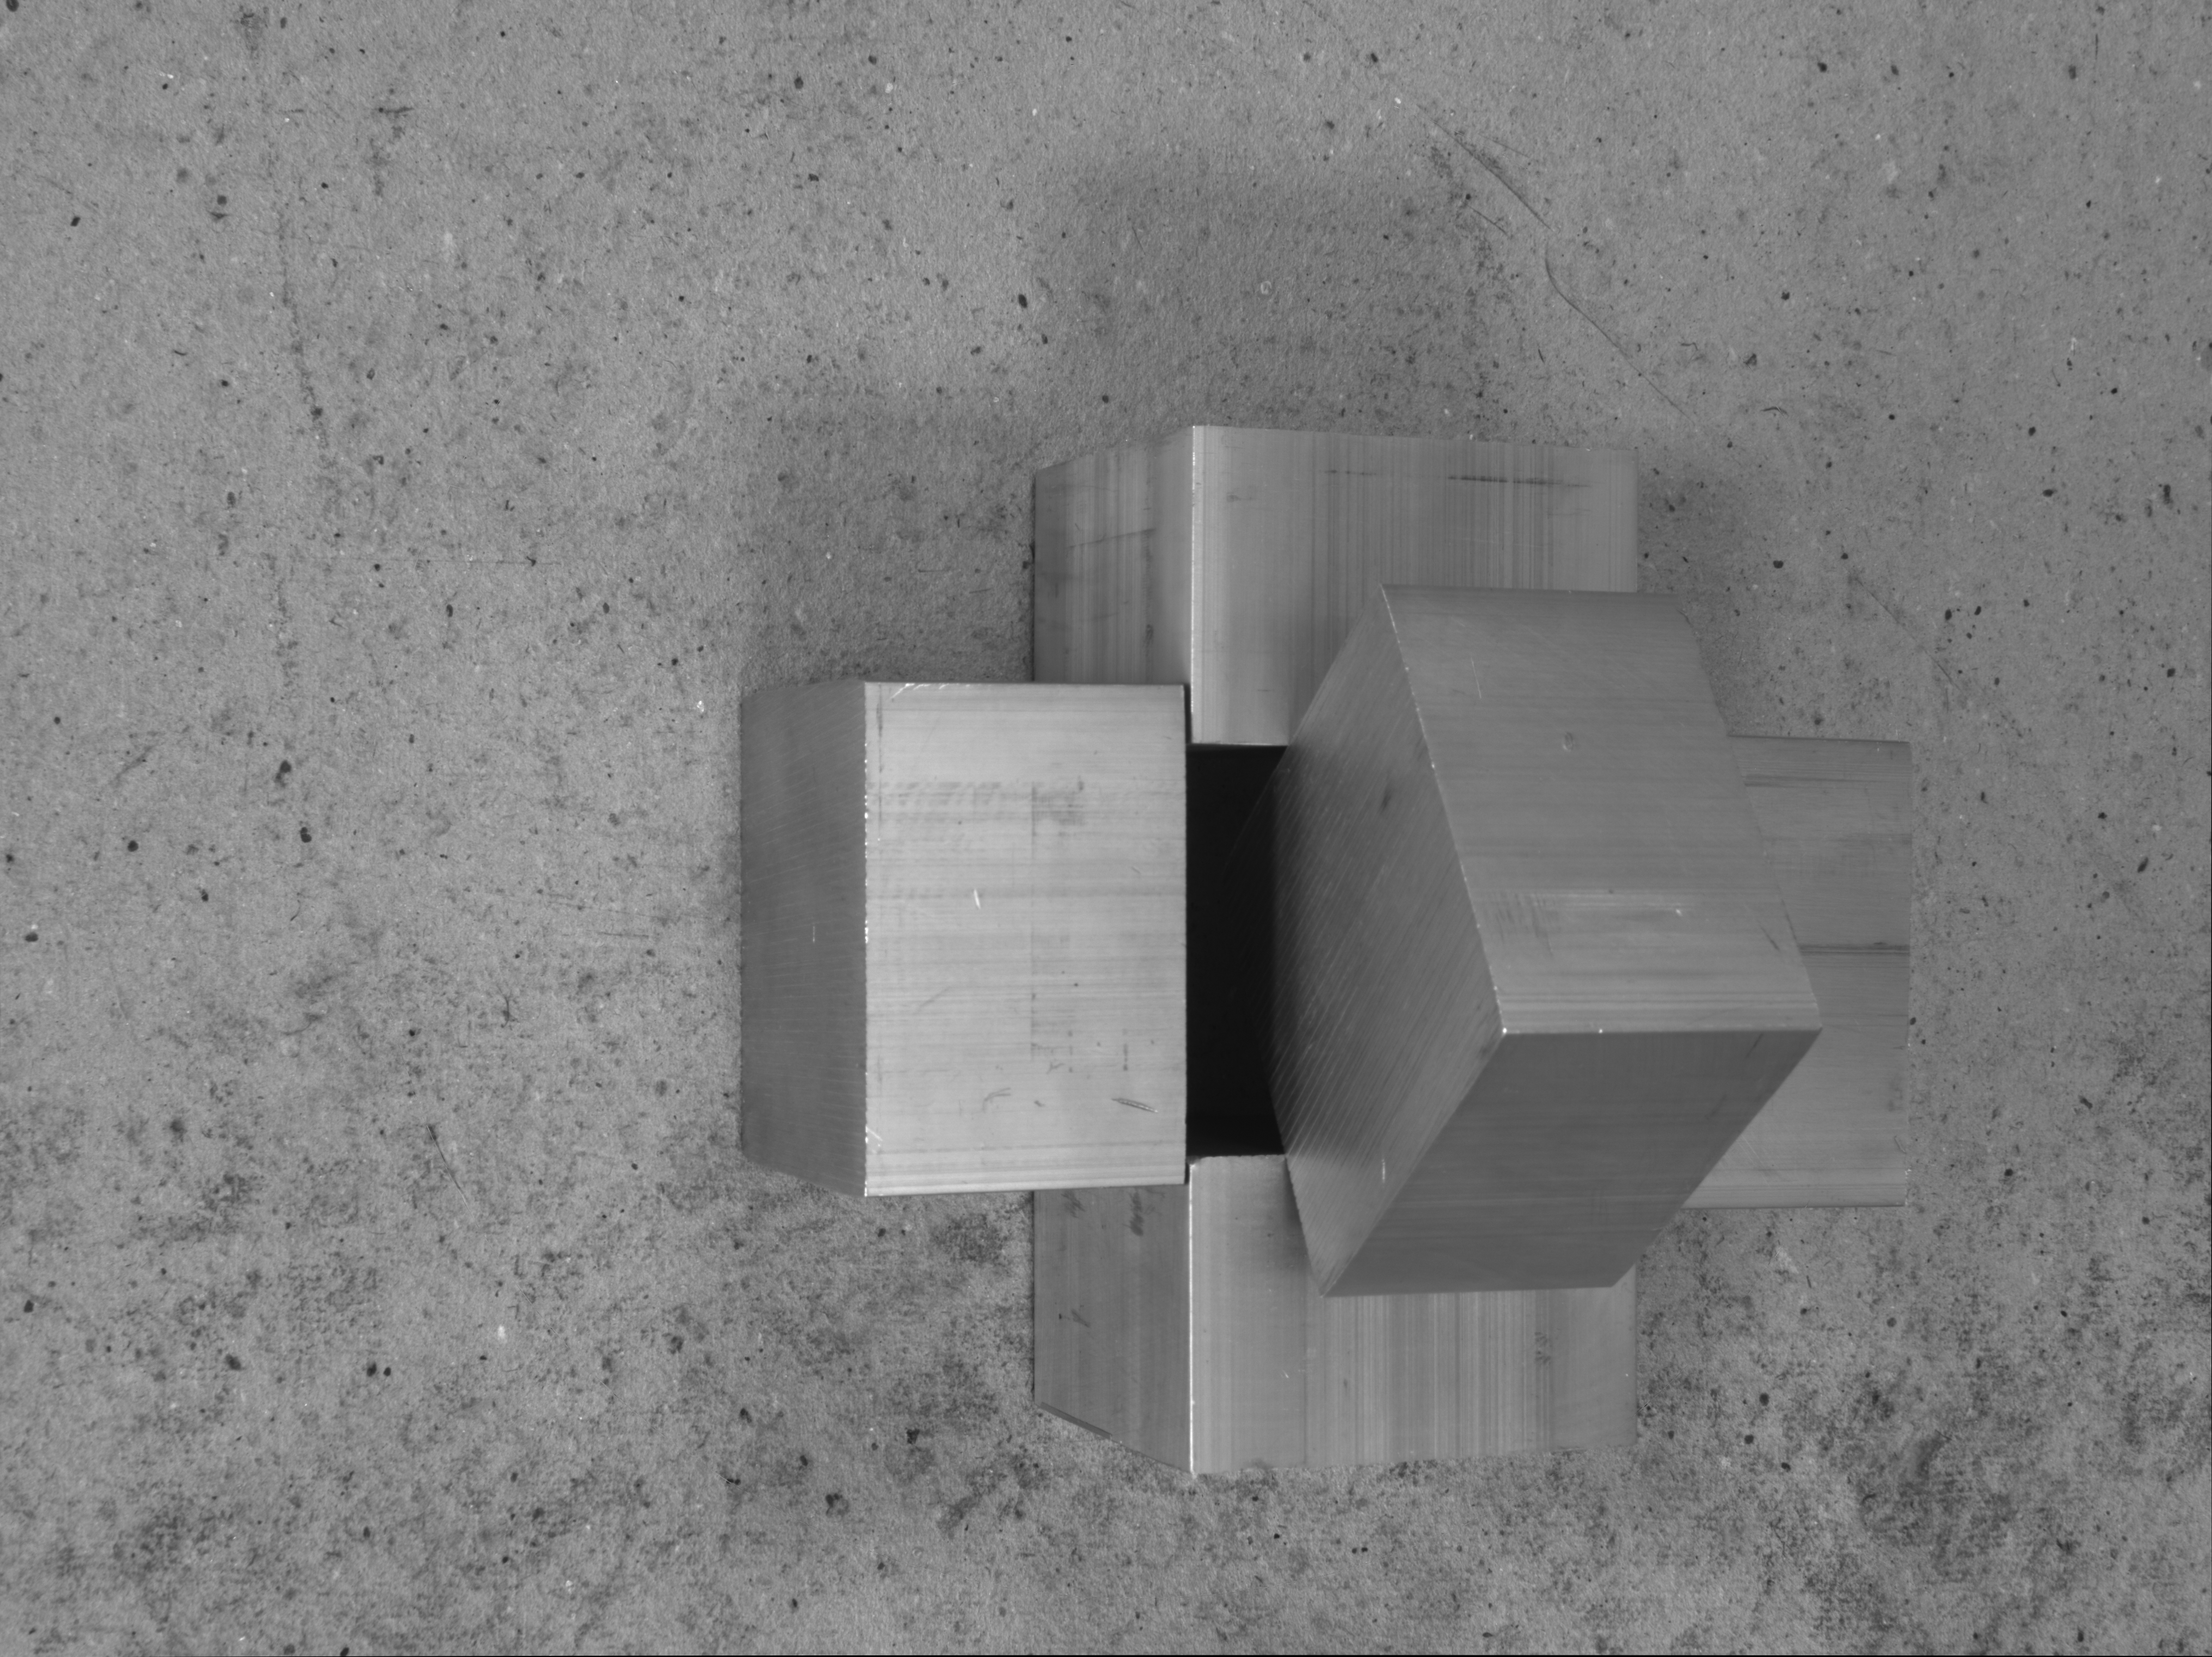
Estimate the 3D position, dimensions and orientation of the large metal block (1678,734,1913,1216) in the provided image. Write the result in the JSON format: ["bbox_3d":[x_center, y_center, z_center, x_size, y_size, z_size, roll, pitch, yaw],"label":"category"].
[{"bbox_3d":[0.099,0.025,0.650,0.050,0.080,0.080,1,89,-20],"label":"large metal block"}]

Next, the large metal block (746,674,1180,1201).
[{"bbox_3d":[-0.025,0.017,0.603,0.050,0.080,0.080,0,90,-20],"label":"large metal block"}]

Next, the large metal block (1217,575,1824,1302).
[{"bbox_3d":[0.060,0.018,0.566,0.050,0.080,0.080,1,55,-20],"label":"large metal block"}]

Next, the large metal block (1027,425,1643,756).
[{"bbox_3d":[0.037,-0.038,0.628,0.080,0.080,0.050,1,90,-20],"label":"large metal block"}]

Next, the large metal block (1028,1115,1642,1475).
[{"bbox_3d":[0.037,0.077,0.627,0.080,0.080,0.050,0,90,-20],"label":"large metal block"}]
